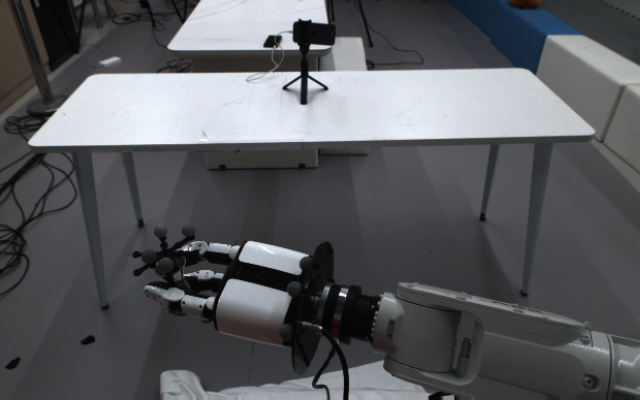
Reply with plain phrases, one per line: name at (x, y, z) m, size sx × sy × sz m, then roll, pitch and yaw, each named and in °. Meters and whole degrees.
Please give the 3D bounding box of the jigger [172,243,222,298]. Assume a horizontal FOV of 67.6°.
jigger at (-0.179, 0.107, 0.625) m, size 0.043 × 0.071 × 0.043 m, roll -8°, pitch 31°, yaw 5°
